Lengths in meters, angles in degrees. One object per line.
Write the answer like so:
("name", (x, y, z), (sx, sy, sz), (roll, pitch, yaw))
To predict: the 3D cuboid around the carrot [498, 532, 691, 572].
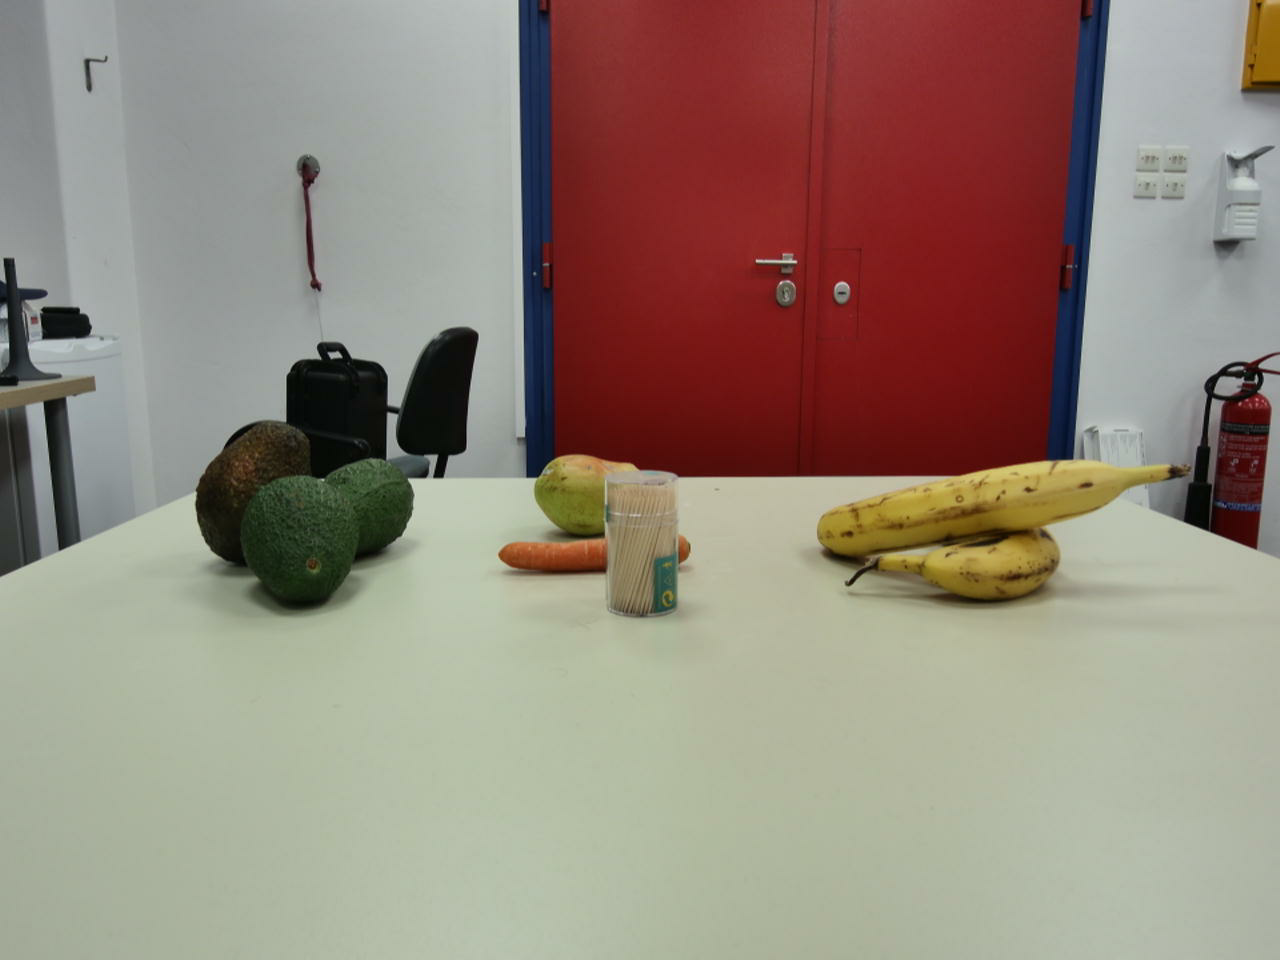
("carrot", (-0.028, 0.046, 0.637), (0.122, 0.023, 0.024), (0, 8, -4))
